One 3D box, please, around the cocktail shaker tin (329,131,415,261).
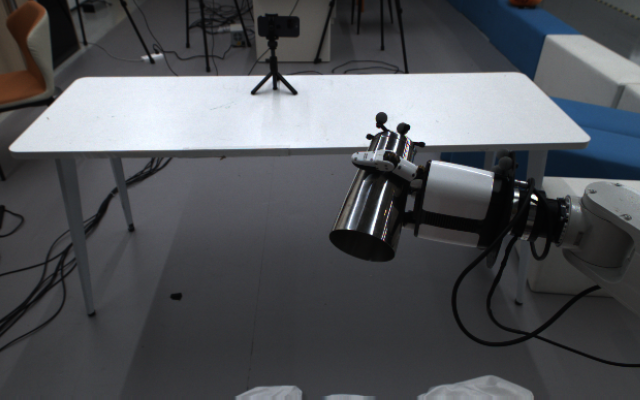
[{"bbox_3d":[0.082,-0.011,0.674,0.093,0.093,0.170,13,63,15],"label":"cocktail shaker tin"}]
